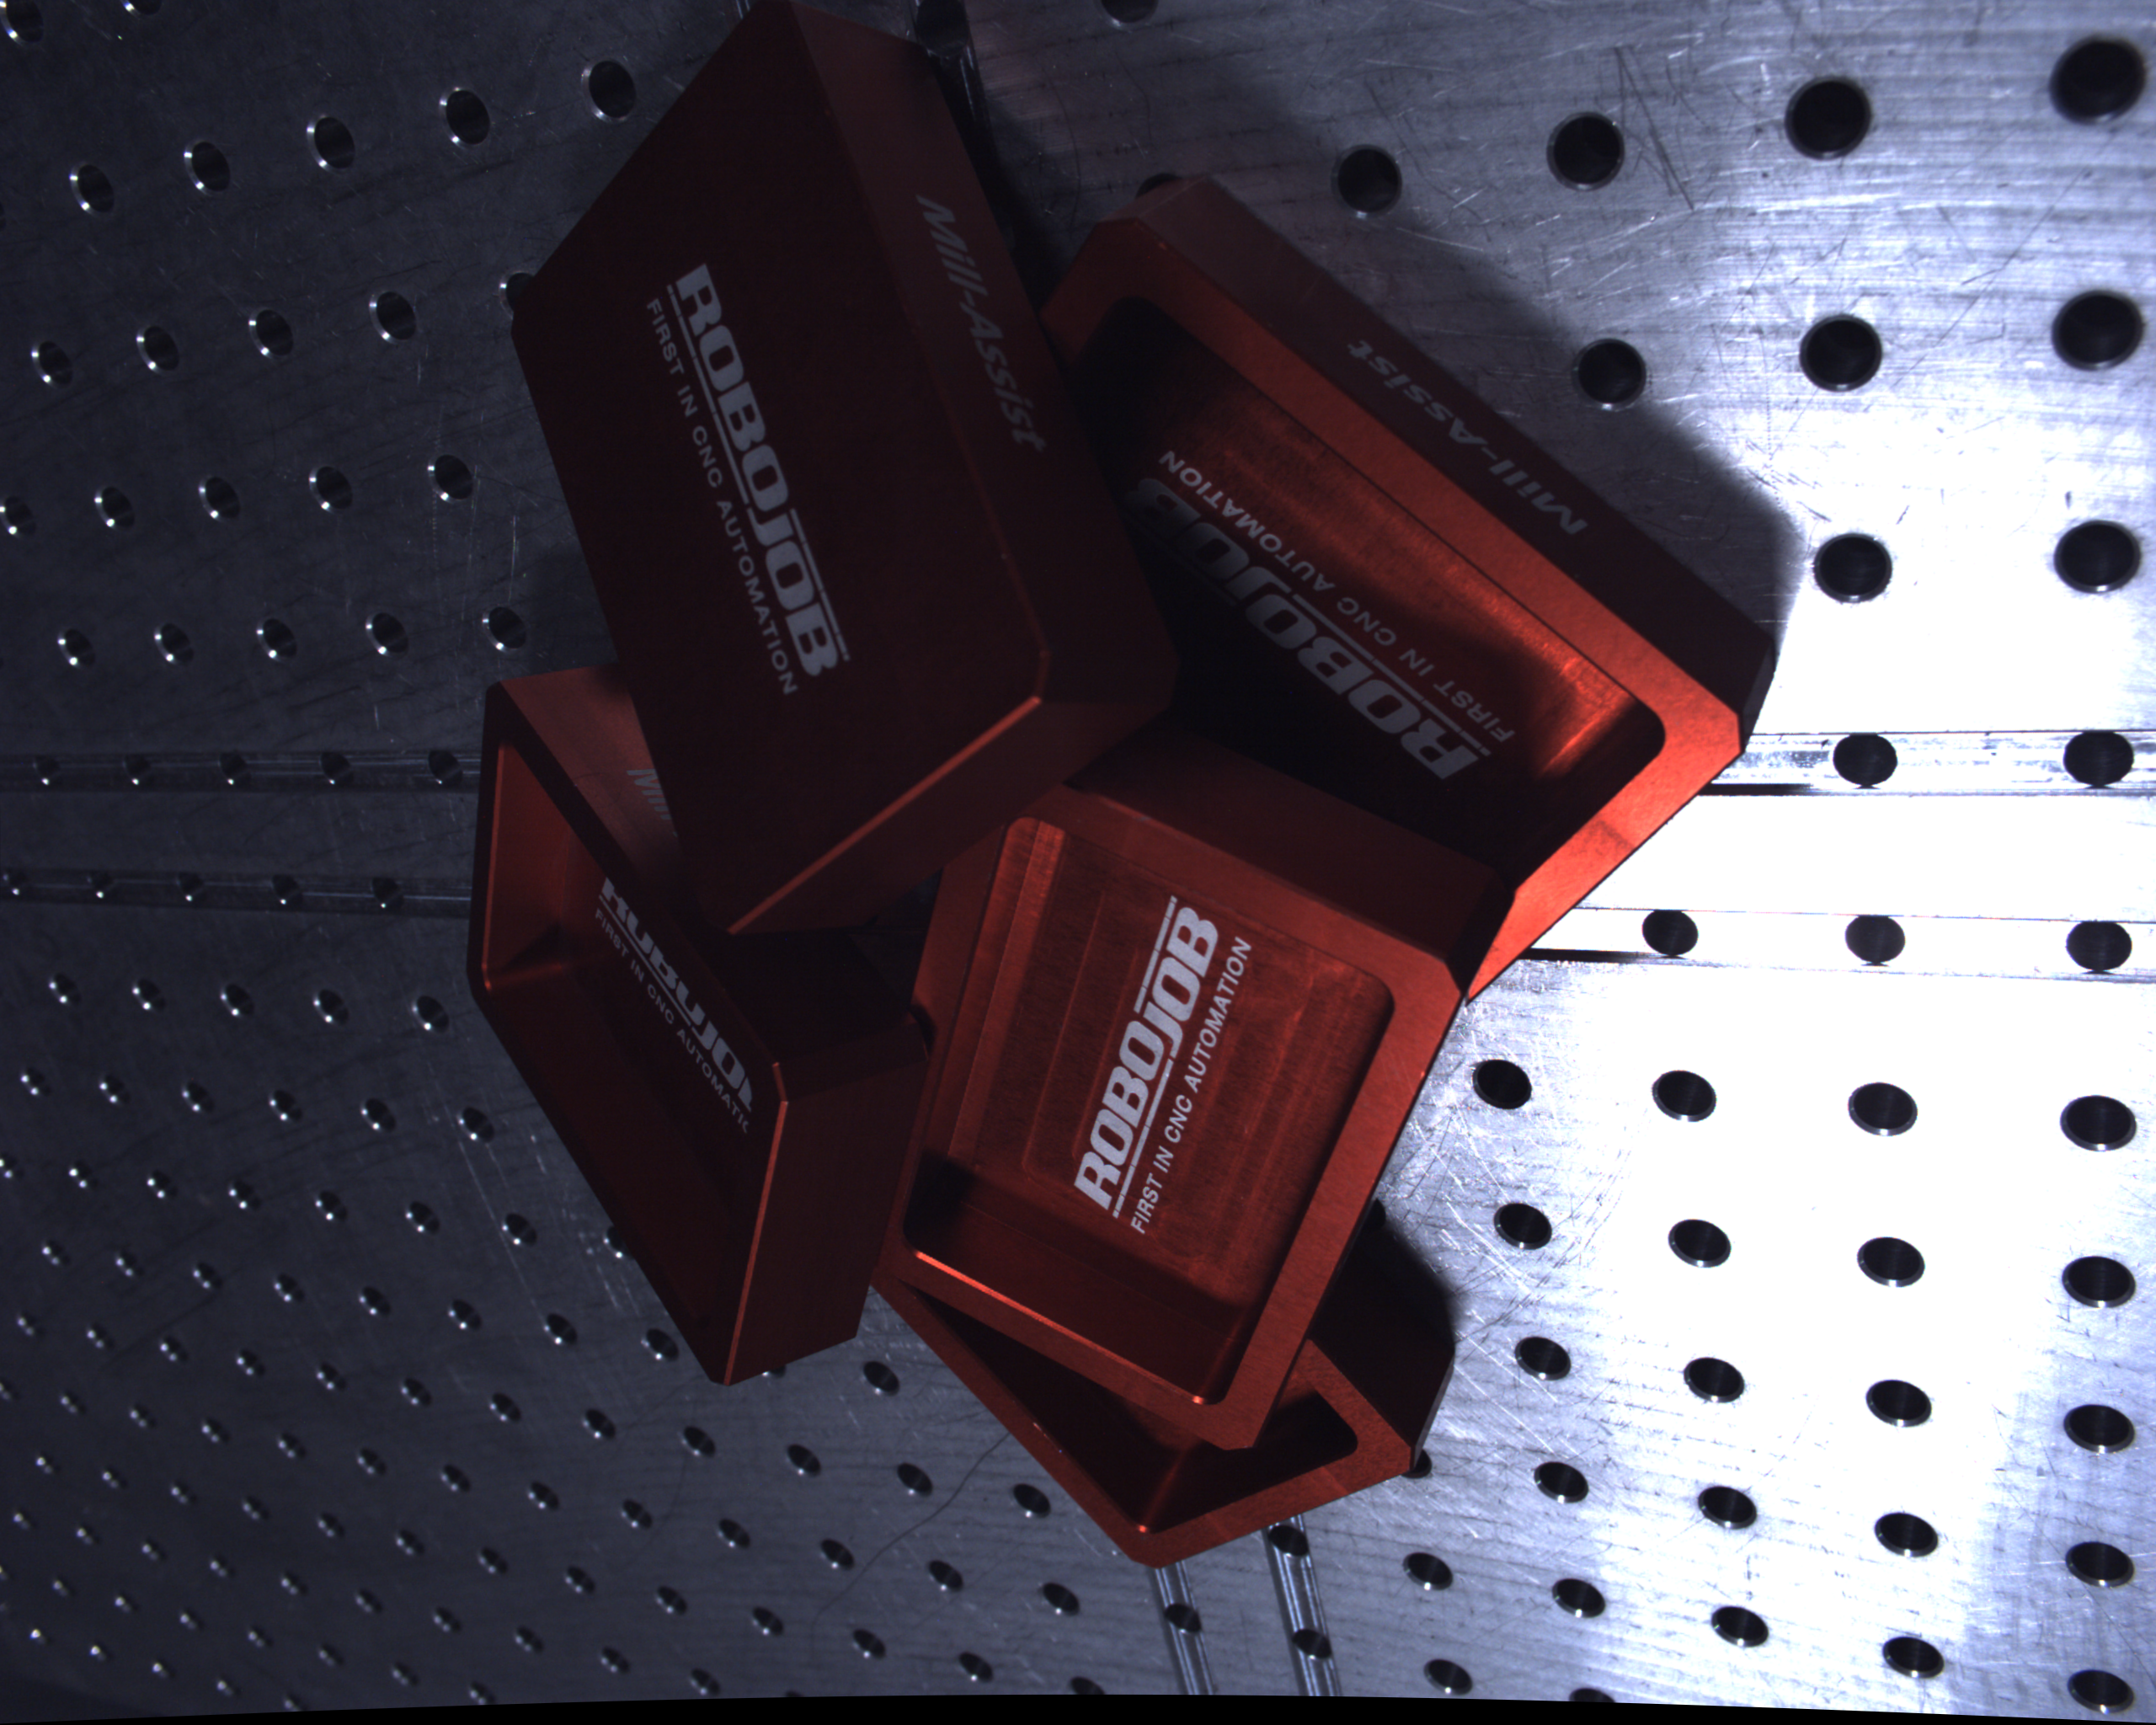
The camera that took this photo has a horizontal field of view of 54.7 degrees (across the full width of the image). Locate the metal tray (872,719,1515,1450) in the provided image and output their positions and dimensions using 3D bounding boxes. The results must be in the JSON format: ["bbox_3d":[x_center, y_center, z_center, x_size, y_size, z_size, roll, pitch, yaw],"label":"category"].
[{"bbox_3d":[0.014,0.041,0.386,0.090,0.030,0.129,25,127,12],"label":"metal tray"}]

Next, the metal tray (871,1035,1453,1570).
[{"bbox_3d":[0.006,0.089,0.458,0.130,0.030,0.090,48,128,-6],"label":"metal tray"}]

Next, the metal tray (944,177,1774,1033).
[{"bbox_3d":[0.040,-0.041,0.360,0.130,0.030,0.089,40,129,0],"label":"metal tray"}]

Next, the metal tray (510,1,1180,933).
[{"bbox_3d":[-0.045,-0.064,0.351,0.090,0.030,0.130,-34,69,38],"label":"metal tray"}]

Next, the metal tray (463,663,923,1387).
[{"bbox_3d":[-0.085,0.030,0.430,0.130,0.030,0.089,47,136,35],"label":"metal tray"}]
